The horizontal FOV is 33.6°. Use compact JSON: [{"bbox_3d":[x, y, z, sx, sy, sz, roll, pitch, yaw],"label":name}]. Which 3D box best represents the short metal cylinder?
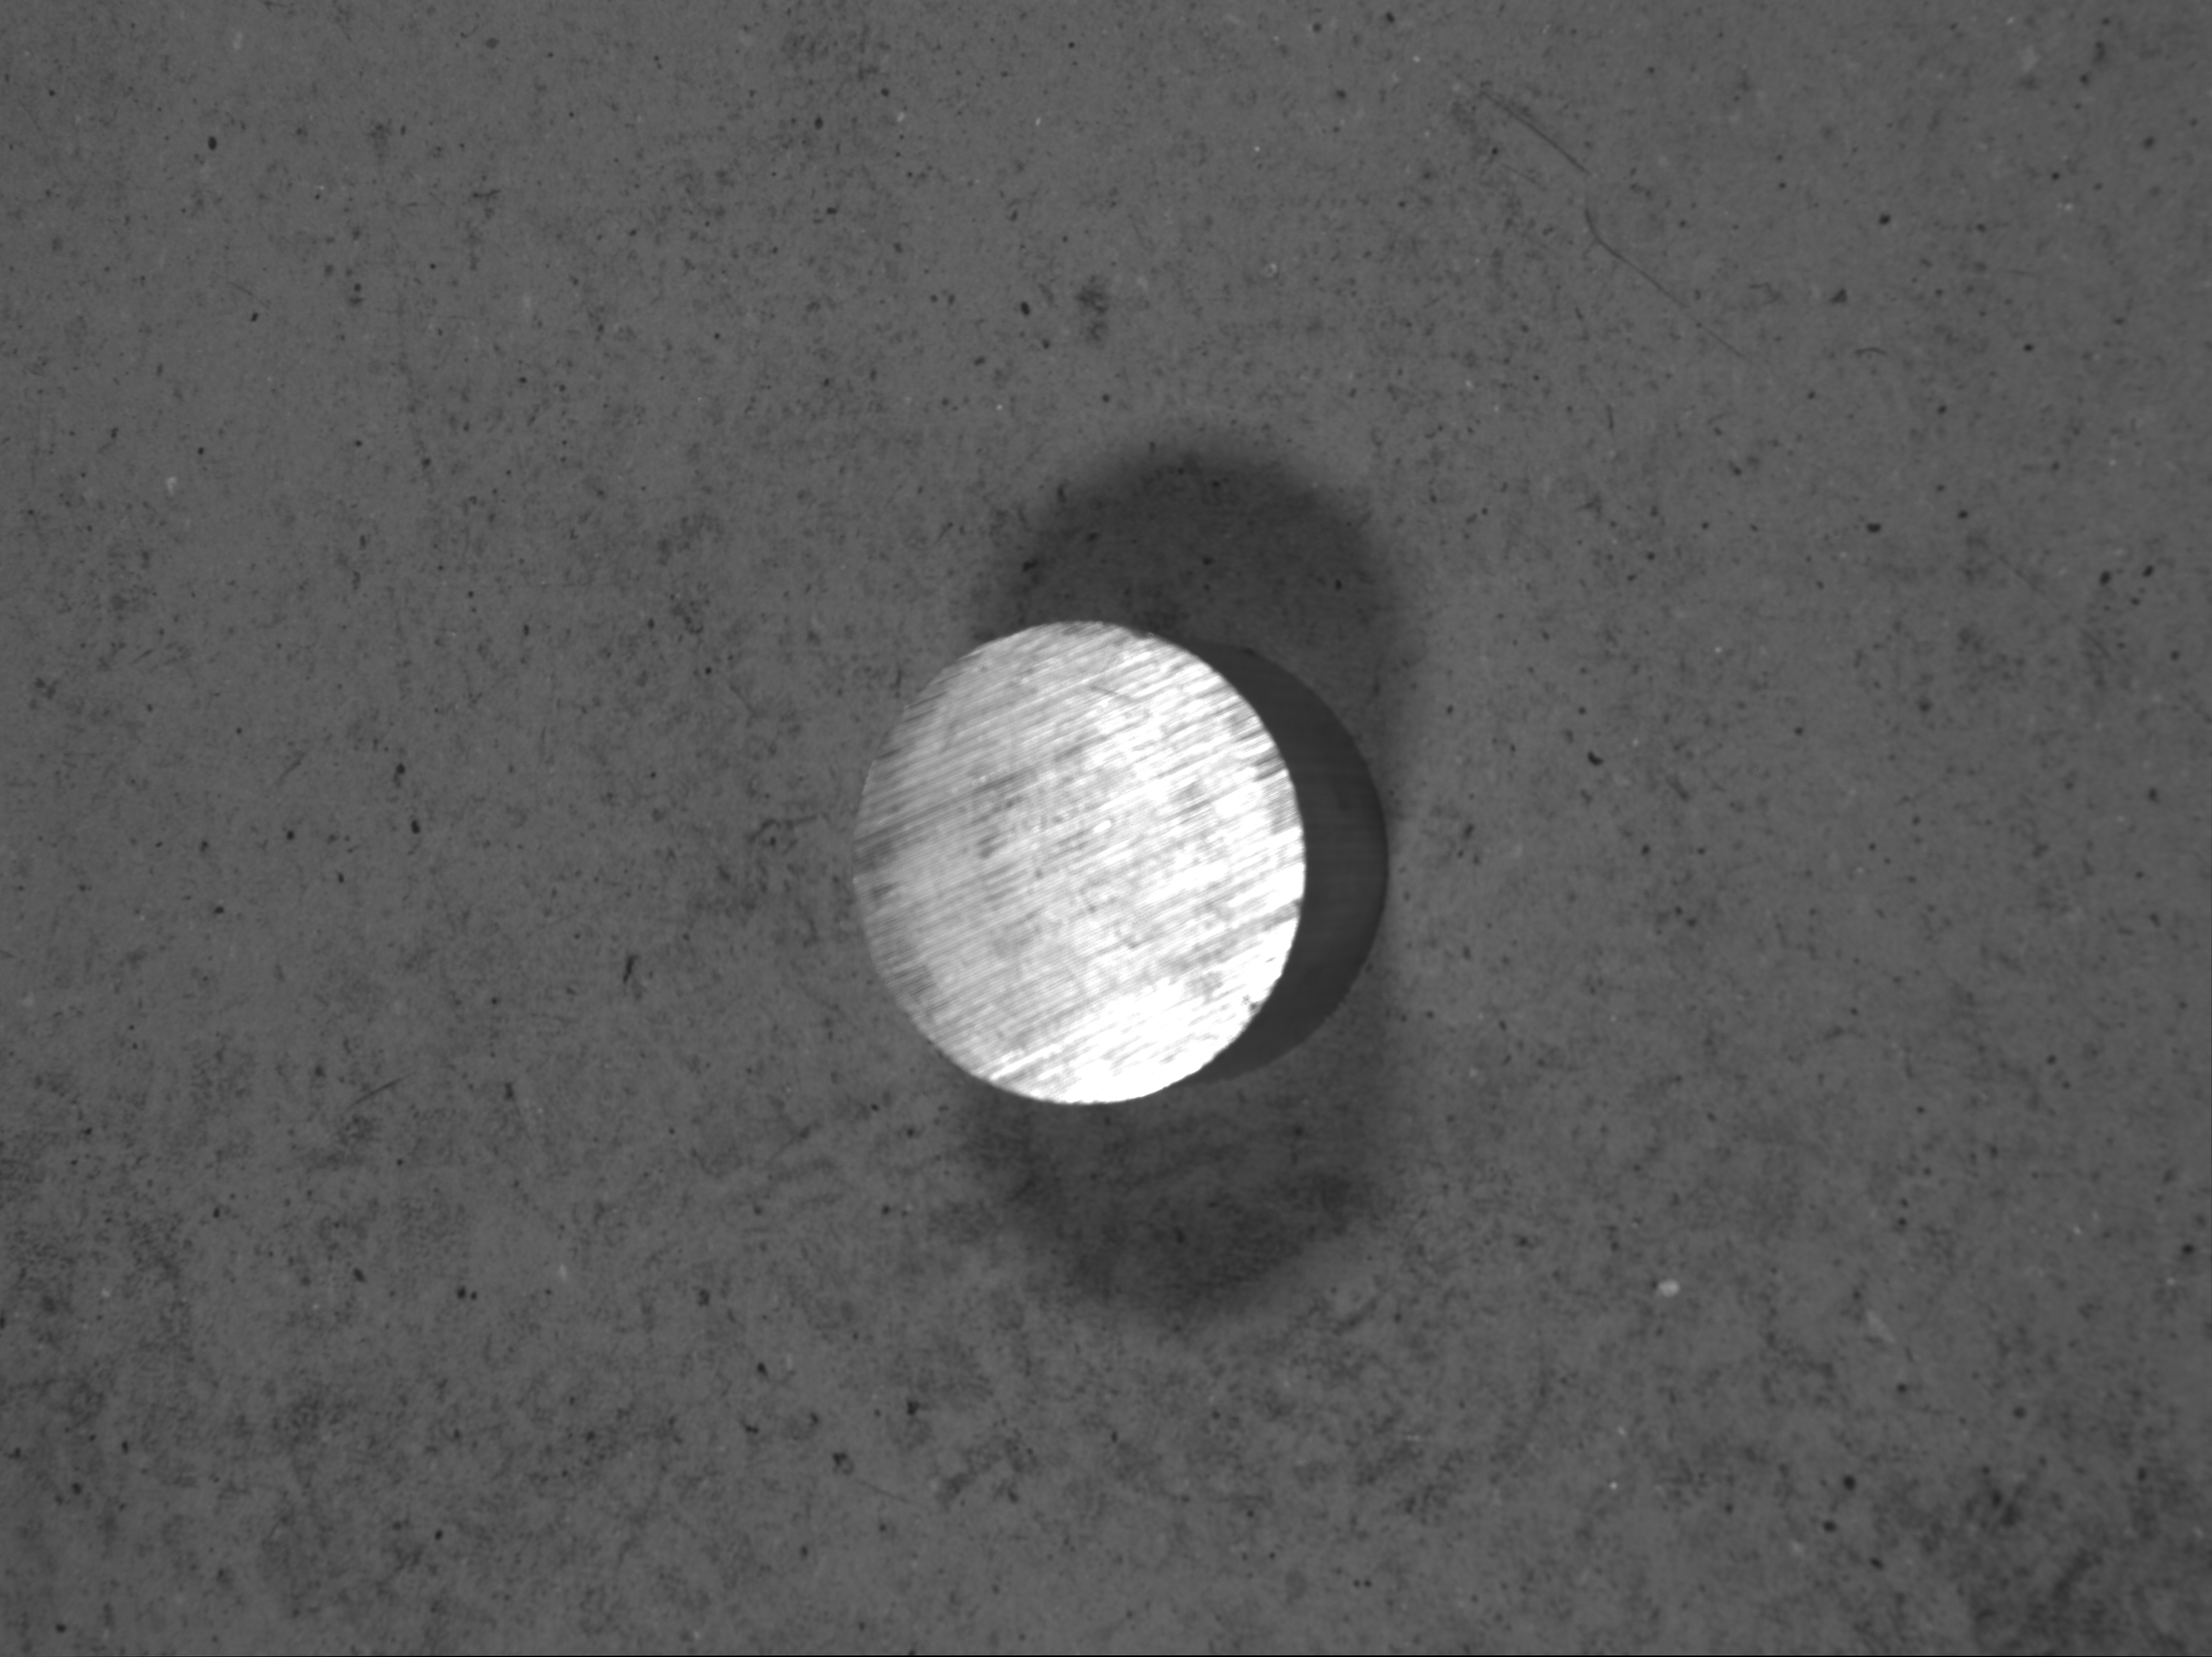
[{"bbox_3d":[0.005,0.006,0.630,0.080,0.050,0.080,0,90,20],"label":"short metal cylinder"}]
